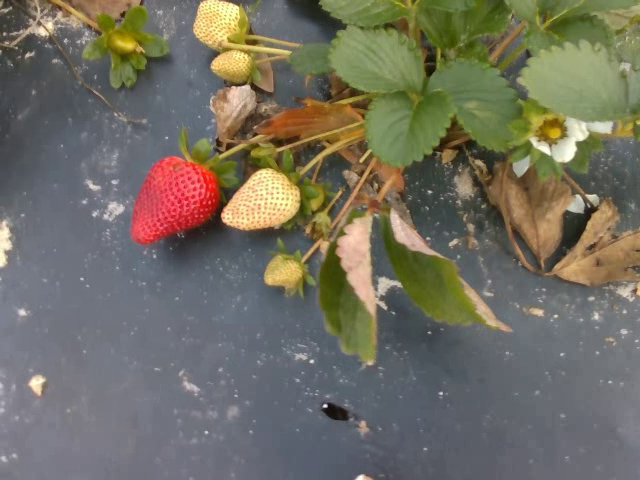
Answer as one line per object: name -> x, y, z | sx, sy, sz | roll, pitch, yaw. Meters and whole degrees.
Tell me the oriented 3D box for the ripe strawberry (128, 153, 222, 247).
ripe strawberry -> -0.077, -0.020, 0.313 | 0.050, 0.059, 0.034 | 23, -30, 9
